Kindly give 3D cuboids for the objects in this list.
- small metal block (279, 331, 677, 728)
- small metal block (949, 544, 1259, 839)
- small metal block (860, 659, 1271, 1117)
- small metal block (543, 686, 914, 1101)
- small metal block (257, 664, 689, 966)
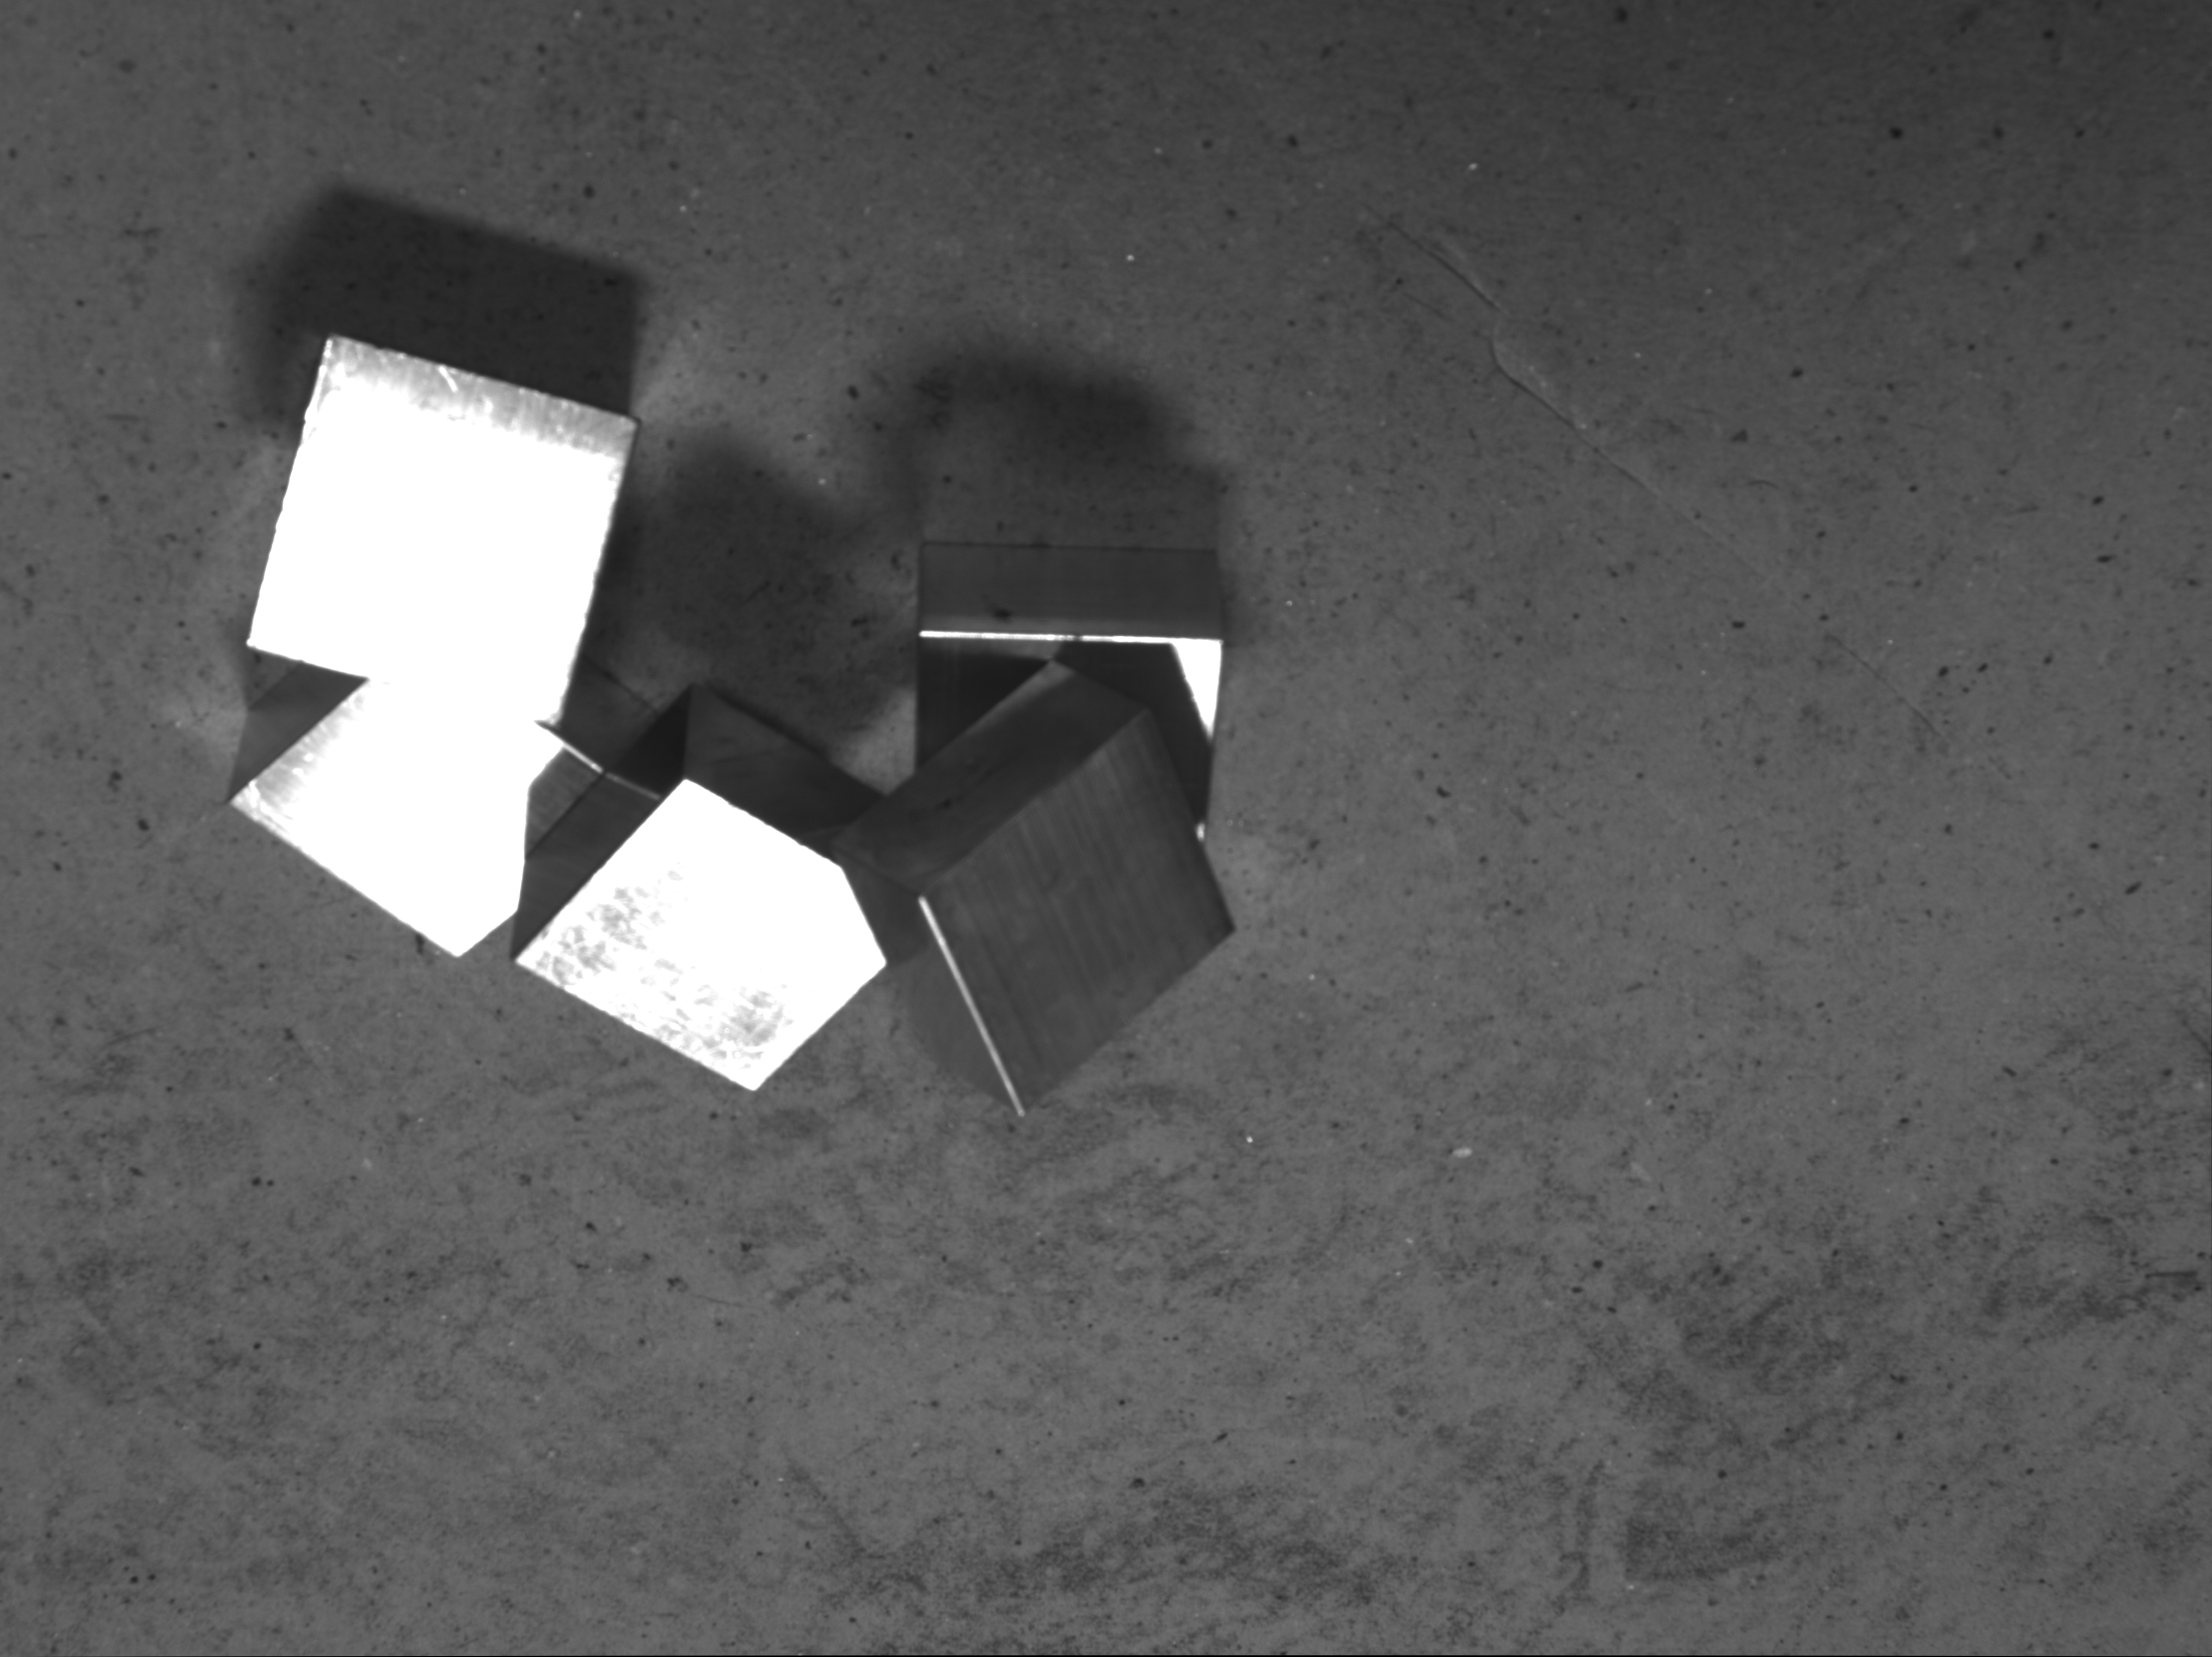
[{"bbox_3d":[-0.100,-0.047,0.581,0.050,0.025,0.050,15,91,-14],"label":"small metal block"},{"bbox_3d":[-0.001,-0.020,0.622,0.050,0.025,0.050,1,130,-3],"label":"small metal block"},{"bbox_3d":[-0.006,0.010,0.598,0.050,0.025,0.050,-40,131,-21],"label":"small metal block"},{"bbox_3d":[-0.058,0.012,0.612,0.050,0.025,0.050,31,123,-25],"label":"small metal block"},{"bbox_3d":[-0.107,-0.011,0.625,0.050,0.025,0.050,-37,122,25],"label":"small metal block"}]
